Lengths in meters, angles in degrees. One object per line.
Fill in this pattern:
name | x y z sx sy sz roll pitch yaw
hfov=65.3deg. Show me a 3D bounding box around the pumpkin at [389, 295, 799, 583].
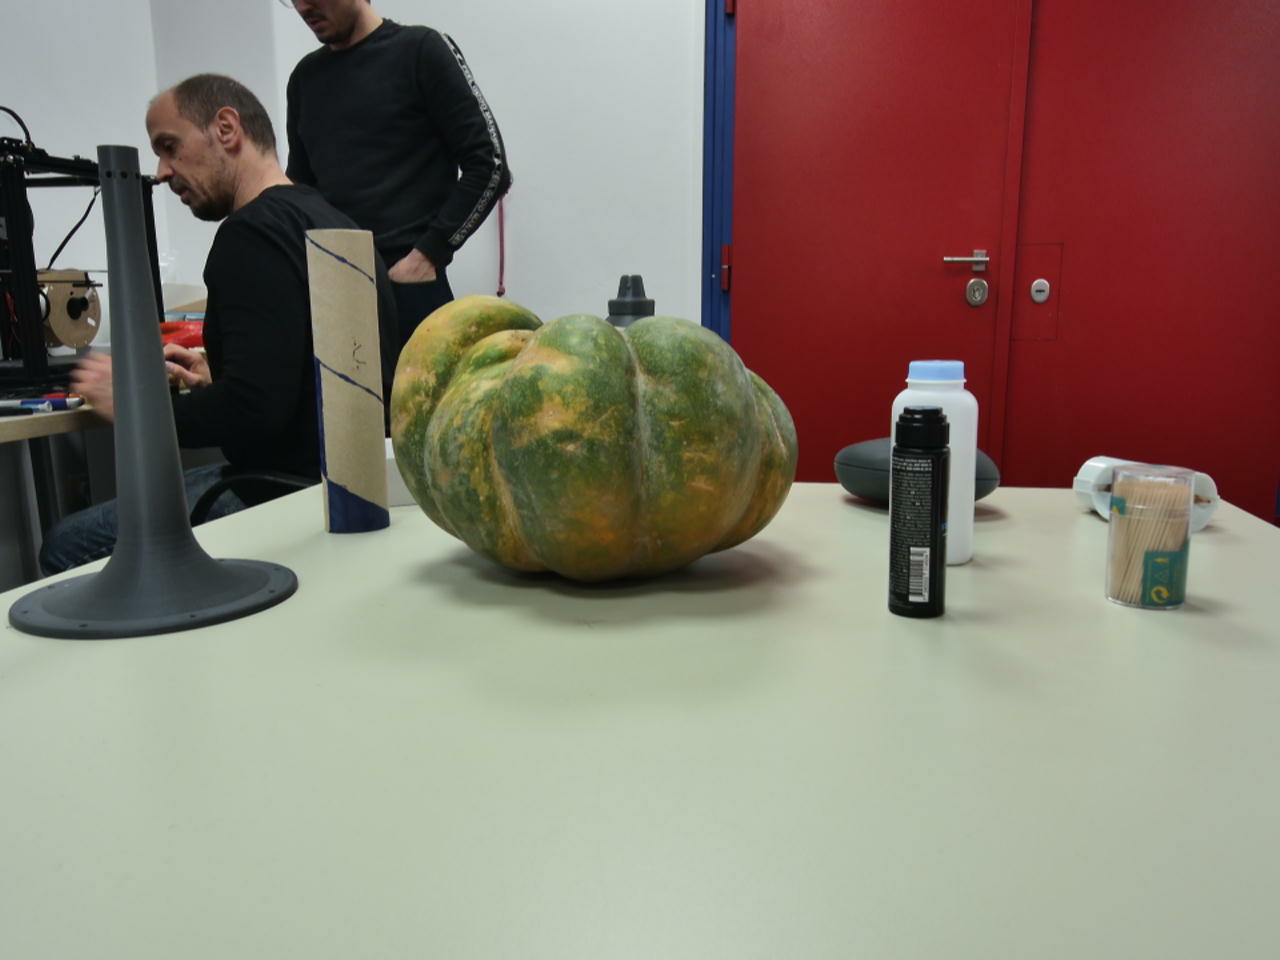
pumpkin | -0.030 -0.030 0.645 0.237 0.173 0.270 -7 10 -41
